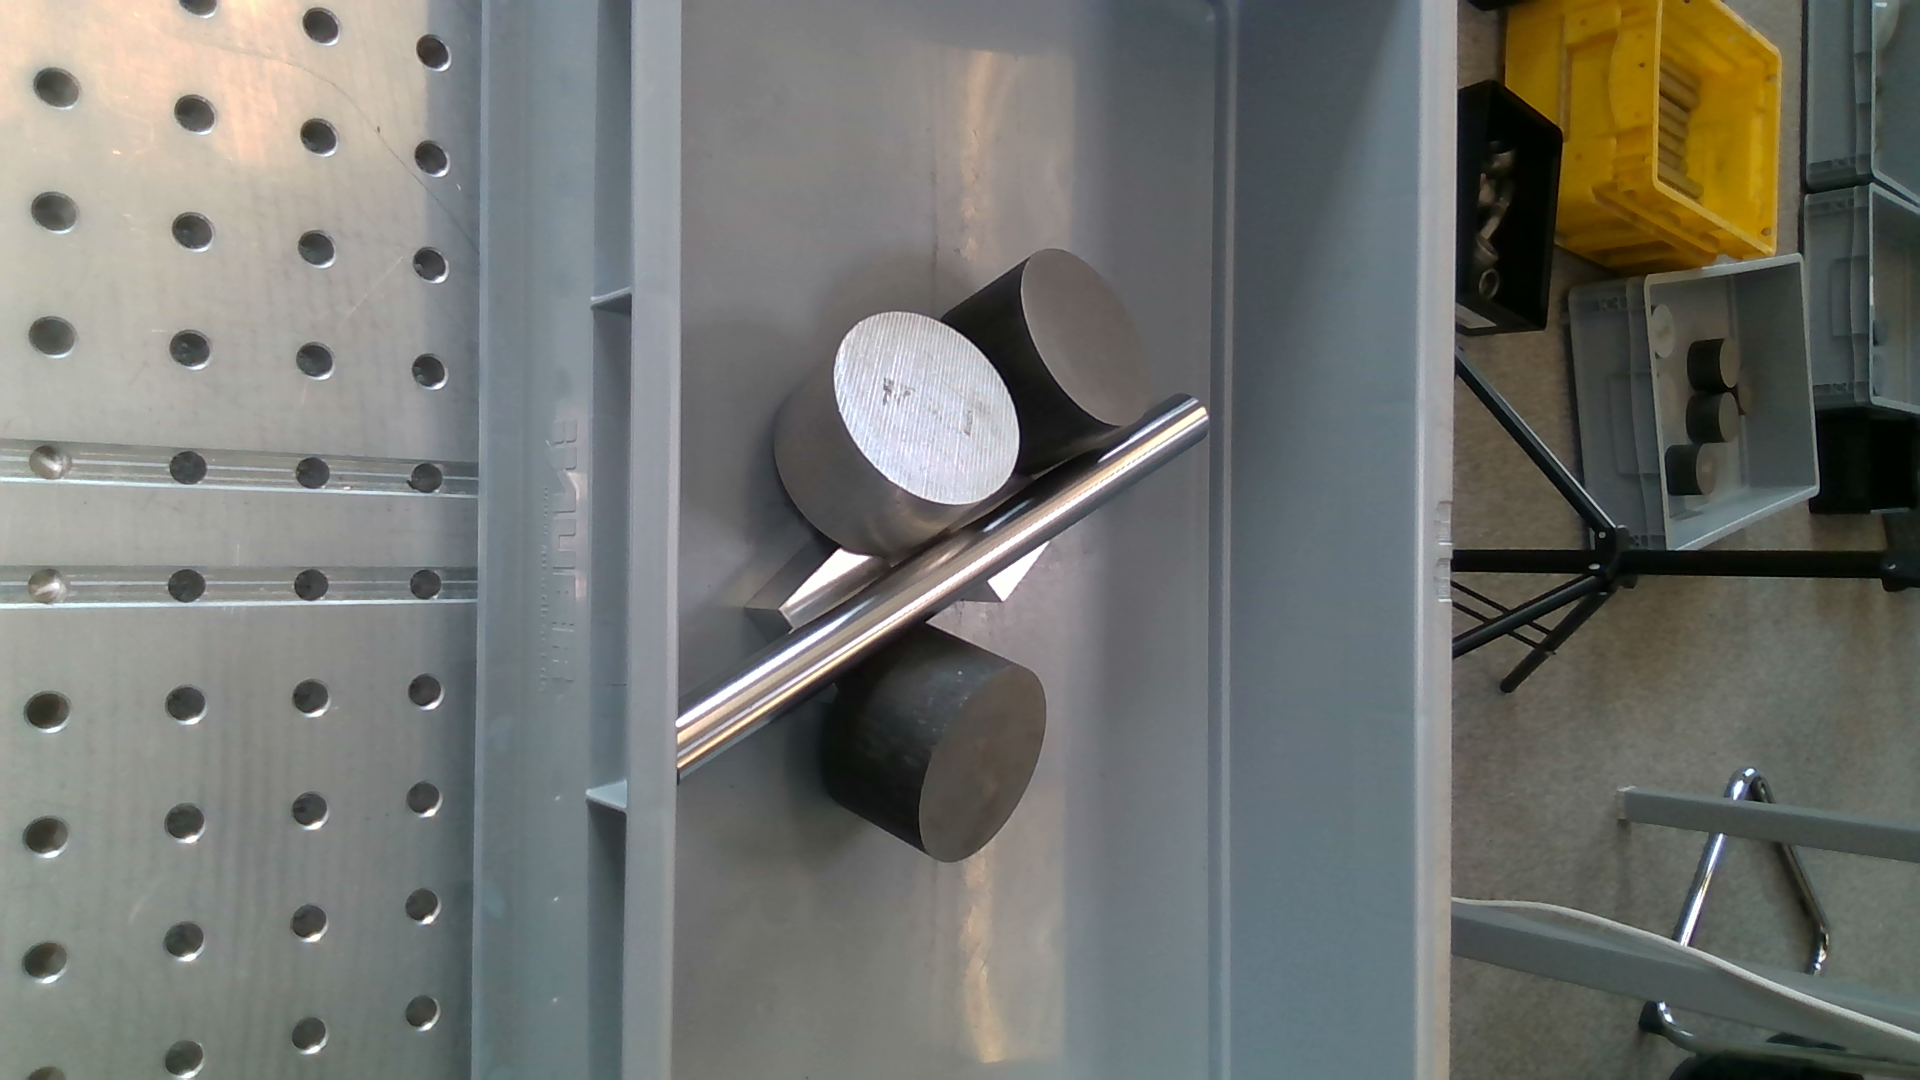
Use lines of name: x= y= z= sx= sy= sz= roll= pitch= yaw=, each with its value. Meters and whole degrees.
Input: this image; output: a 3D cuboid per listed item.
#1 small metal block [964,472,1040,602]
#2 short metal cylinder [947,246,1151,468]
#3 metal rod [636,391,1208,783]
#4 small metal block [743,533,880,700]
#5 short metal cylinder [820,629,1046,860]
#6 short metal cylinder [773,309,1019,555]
small metal block: x=0.011 y=-0.009 z=0.591 sx=0.050 sy=0.025 sz=0.050 roll=-51 pitch=120 yaw=-28
short metal cylinder: x=0.035 y=-0.075 z=0.577 sx=0.080 sy=0.050 sz=0.080 roll=27 pitch=51 yaw=-38
metal rod: x=0.002 y=0.007 z=0.550 sx=0.300 sy=0.025 sz=0.025 roll=-32 pitch=110 yaw=-36
small metal block: x=-0.048 y=0.028 z=0.541 sx=0.050 sy=0.025 sz=0.050 roll=-48 pitch=119 yaw=-29
short metal cylinder: x=-0.009 y=0.078 z=0.541 sx=0.080 sy=0.050 sz=0.080 roll=-32 pitch=133 yaw=-43
short metal cylinder: x=-0.024 y=-0.041 z=0.527 sx=0.080 sy=0.050 sz=0.080 roll=17 pitch=58 yaw=-29
